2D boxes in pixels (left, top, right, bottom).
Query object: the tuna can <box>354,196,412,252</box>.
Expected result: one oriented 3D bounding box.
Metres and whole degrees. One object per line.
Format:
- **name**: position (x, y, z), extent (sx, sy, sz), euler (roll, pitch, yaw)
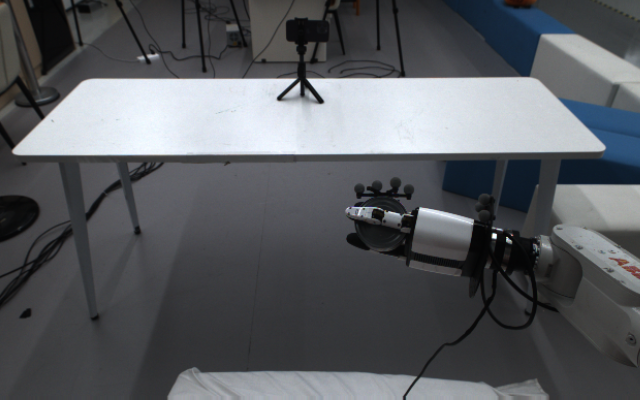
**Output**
- **tuna can**: position (0.100, 0.038, 0.771), extent (0.085, 0.034, 0.085), euler (-3, 73, 10)
